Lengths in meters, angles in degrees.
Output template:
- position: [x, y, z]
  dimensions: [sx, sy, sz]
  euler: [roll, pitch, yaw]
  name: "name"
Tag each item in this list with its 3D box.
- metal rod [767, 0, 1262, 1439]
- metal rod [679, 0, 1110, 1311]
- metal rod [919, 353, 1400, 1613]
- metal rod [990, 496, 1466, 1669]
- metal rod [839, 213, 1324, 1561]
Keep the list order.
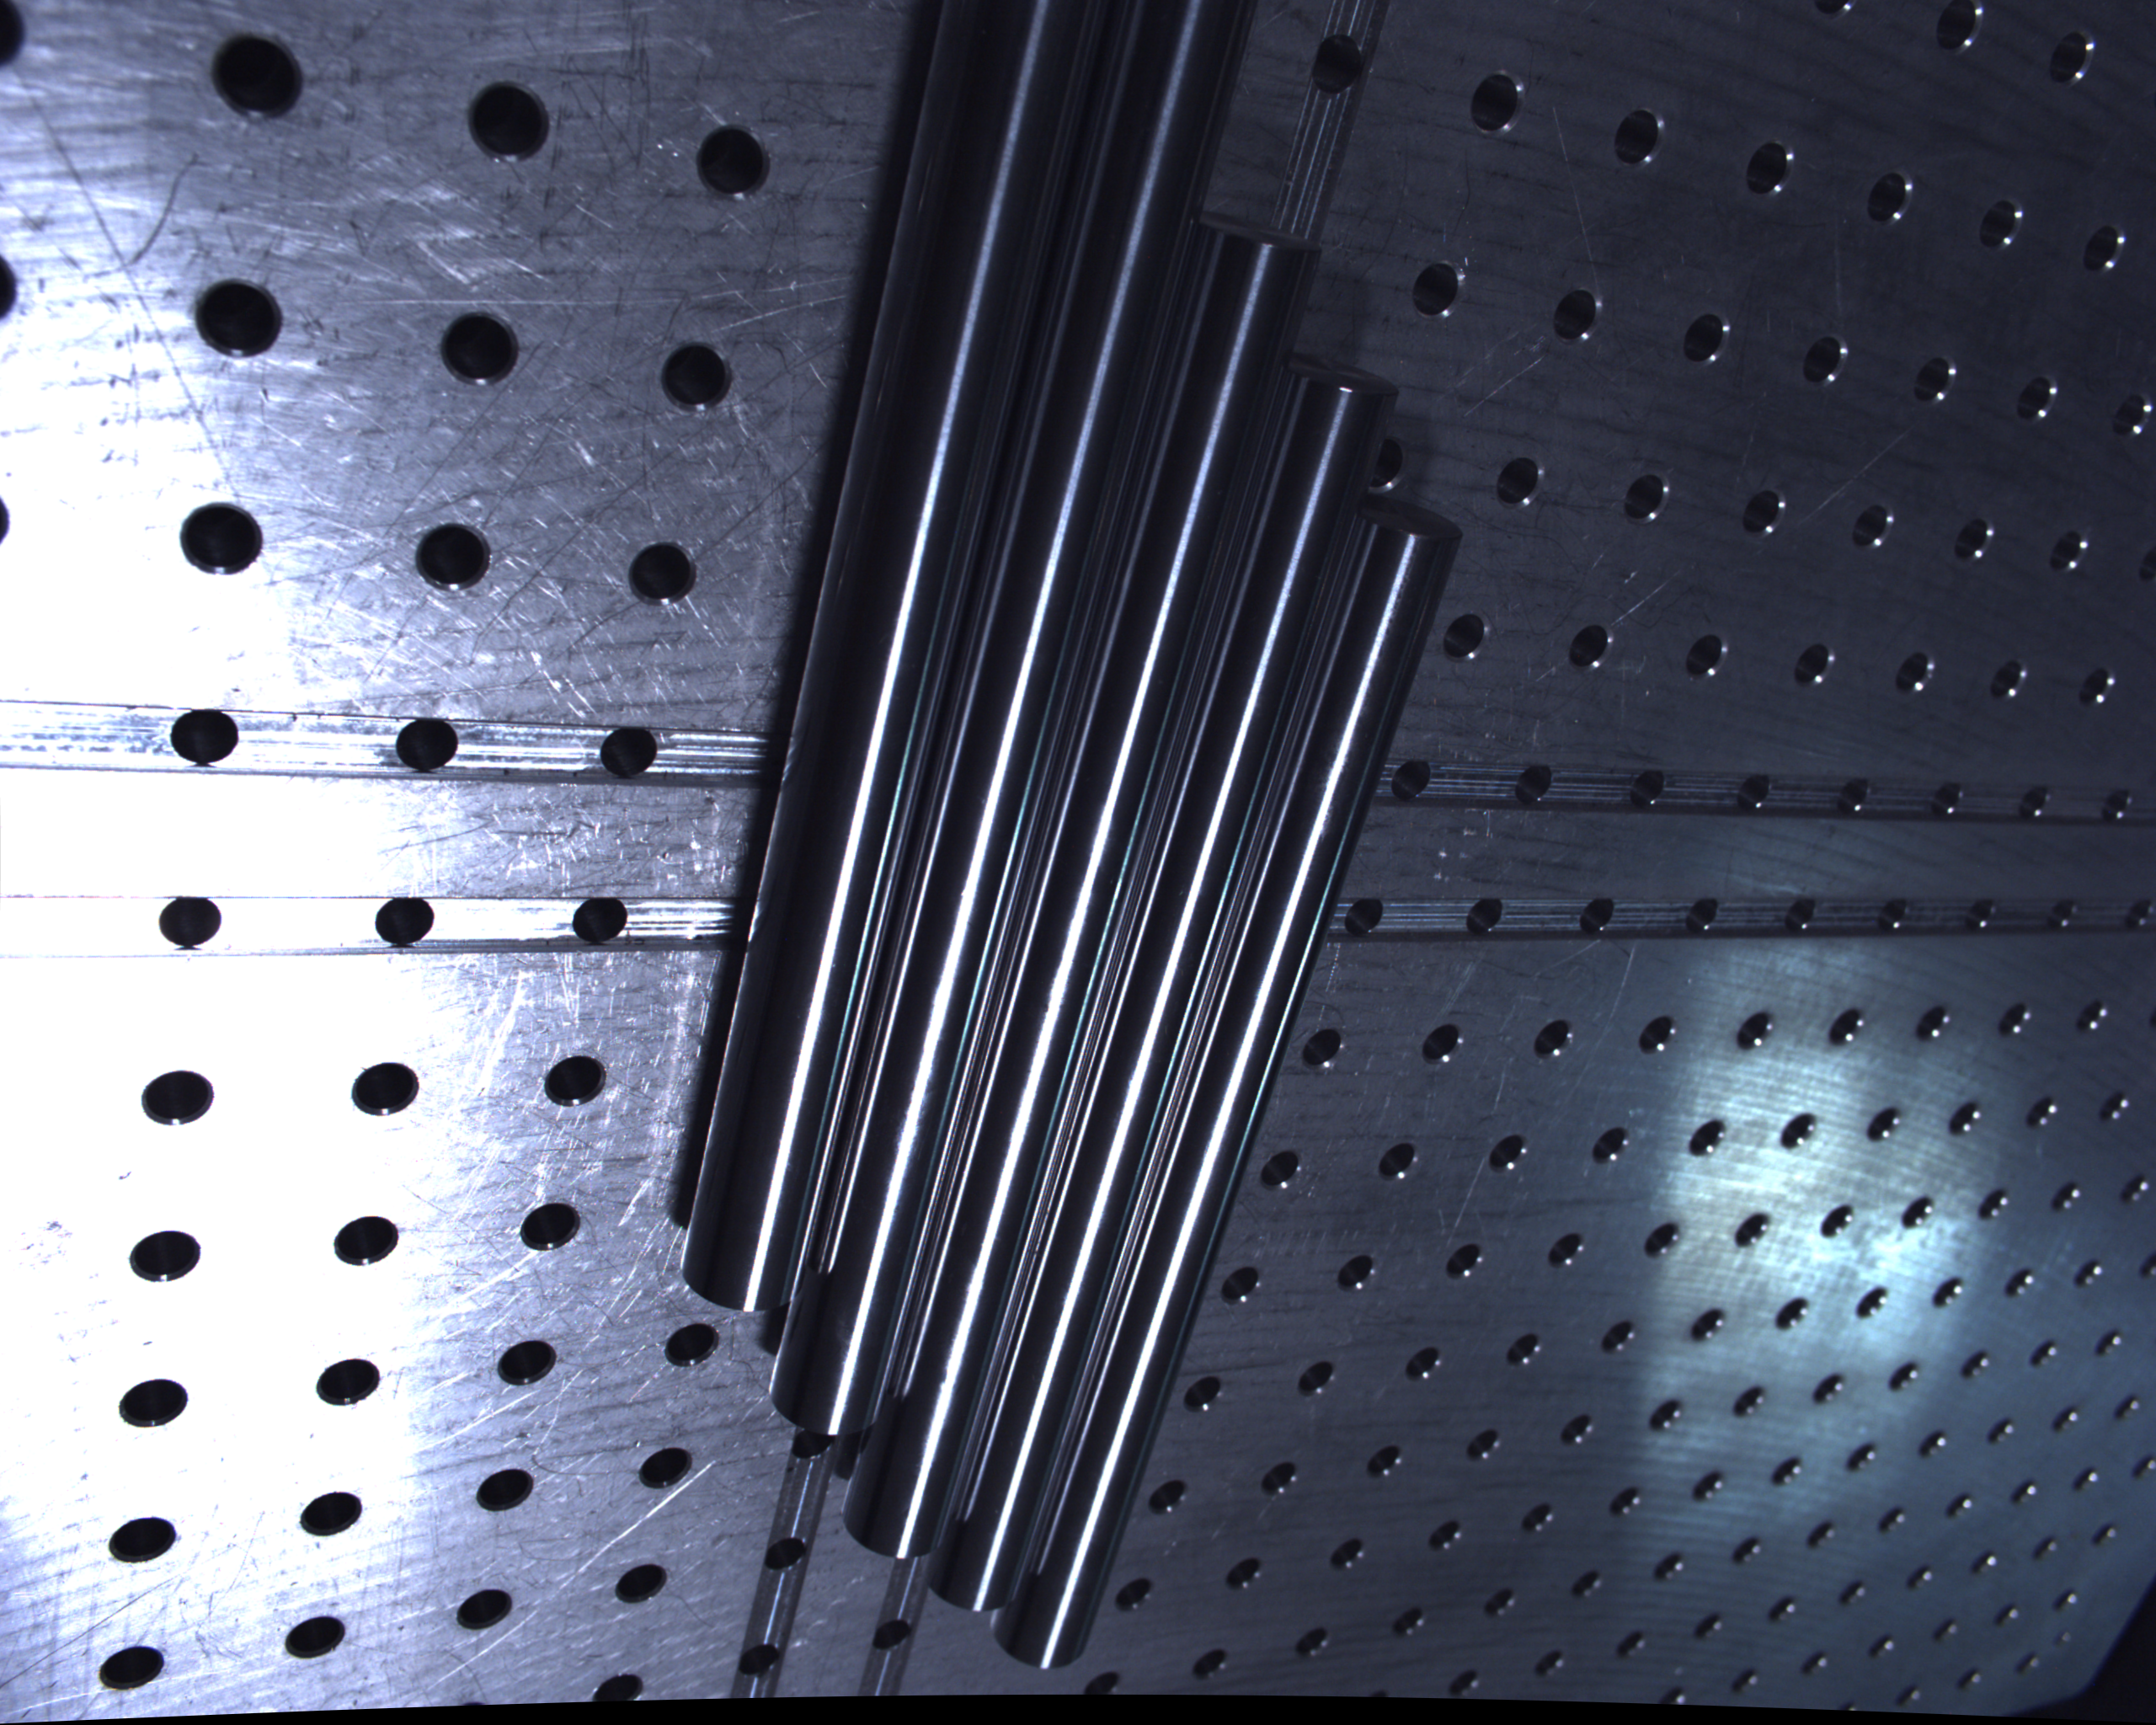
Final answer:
- position: [-0.018, -0.014, 0.393]
  dimensions: [0.025, 0.025, 0.298]
  euler: [1, 118, -29]
  name: "metal rod"
- position: [-0.032, -0.047, 0.365]
  dimensions: [0.025, 0.025, 0.298]
  euler: [1, 118, -29]
  name: "metal rod"
- position: [0.010, 0.041, 0.443]
  dimensions: [0.025, 0.025, 0.298]
  euler: [1, 118, -29]
  name: "metal rod"
- position: [0.026, 0.063, 0.466]
  dimensions: [0.025, 0.025, 0.298]
  euler: [1, 118, -29]
  name: "metal rod"
- position: [-0.006, 0.021, 0.422]
  dimensions: [0.025, 0.025, 0.298]
  euler: [1, 118, -29]
  name: "metal rod"
